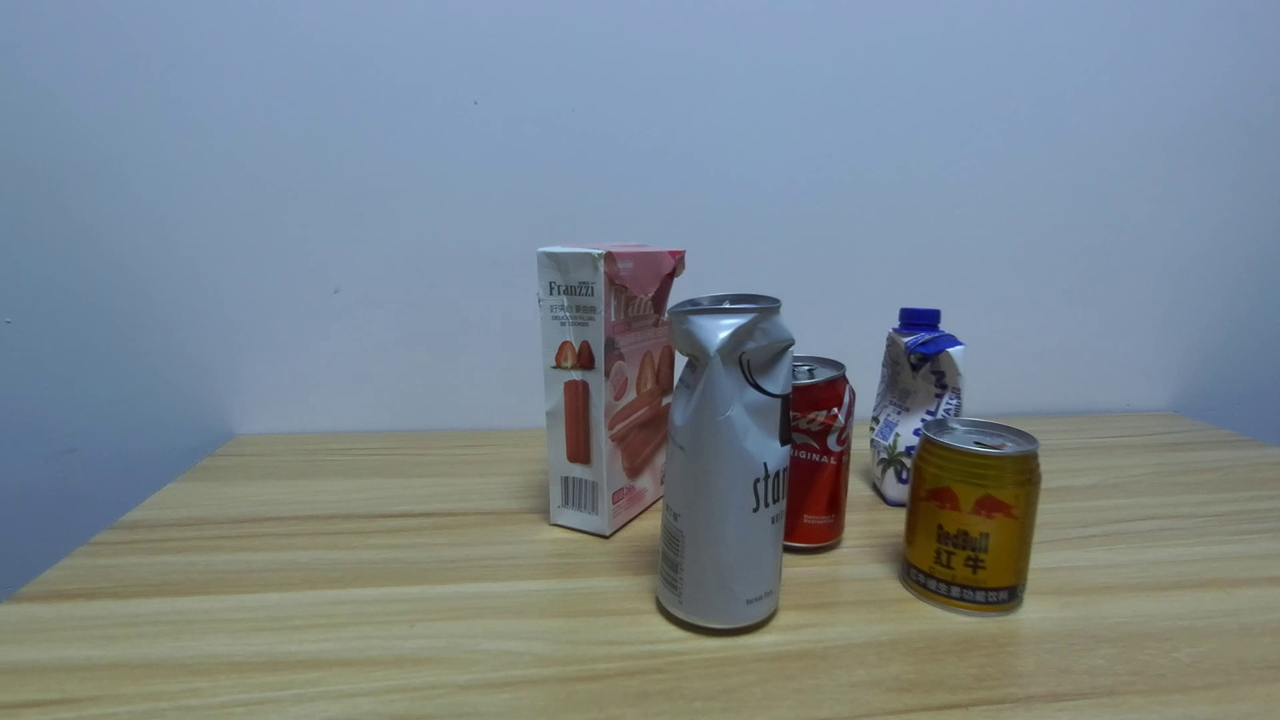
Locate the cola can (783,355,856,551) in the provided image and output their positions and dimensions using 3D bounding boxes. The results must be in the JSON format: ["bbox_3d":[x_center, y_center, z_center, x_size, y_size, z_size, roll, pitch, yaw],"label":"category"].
[{"bbox_3d":[0.105,0.058,0.457,0.072,0.117,0.066,12,16,42],"label":"cola can"}]

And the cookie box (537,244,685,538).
[{"bbox_3d":[-0.018,0.015,0.481,0.059,0.186,0.105,10,15,30],"label":"cookie box"}]

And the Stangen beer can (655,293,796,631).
[{"bbox_3d":[0.042,0.052,0.363,0.066,0.166,0.065,-10,16,-34],"label":"Stangen beer can"}]

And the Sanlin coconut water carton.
[{"bbox_3d":[0.202,0.036,0.516,0.057,0.145,0.068,-7,19,5],"label":"Sanlin coconut water carton"}]

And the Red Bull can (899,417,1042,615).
[{"bbox_3d":[0.185,0.086,0.397,0.067,0.093,0.067,3,10,0],"label":"Red Bull can"}]
